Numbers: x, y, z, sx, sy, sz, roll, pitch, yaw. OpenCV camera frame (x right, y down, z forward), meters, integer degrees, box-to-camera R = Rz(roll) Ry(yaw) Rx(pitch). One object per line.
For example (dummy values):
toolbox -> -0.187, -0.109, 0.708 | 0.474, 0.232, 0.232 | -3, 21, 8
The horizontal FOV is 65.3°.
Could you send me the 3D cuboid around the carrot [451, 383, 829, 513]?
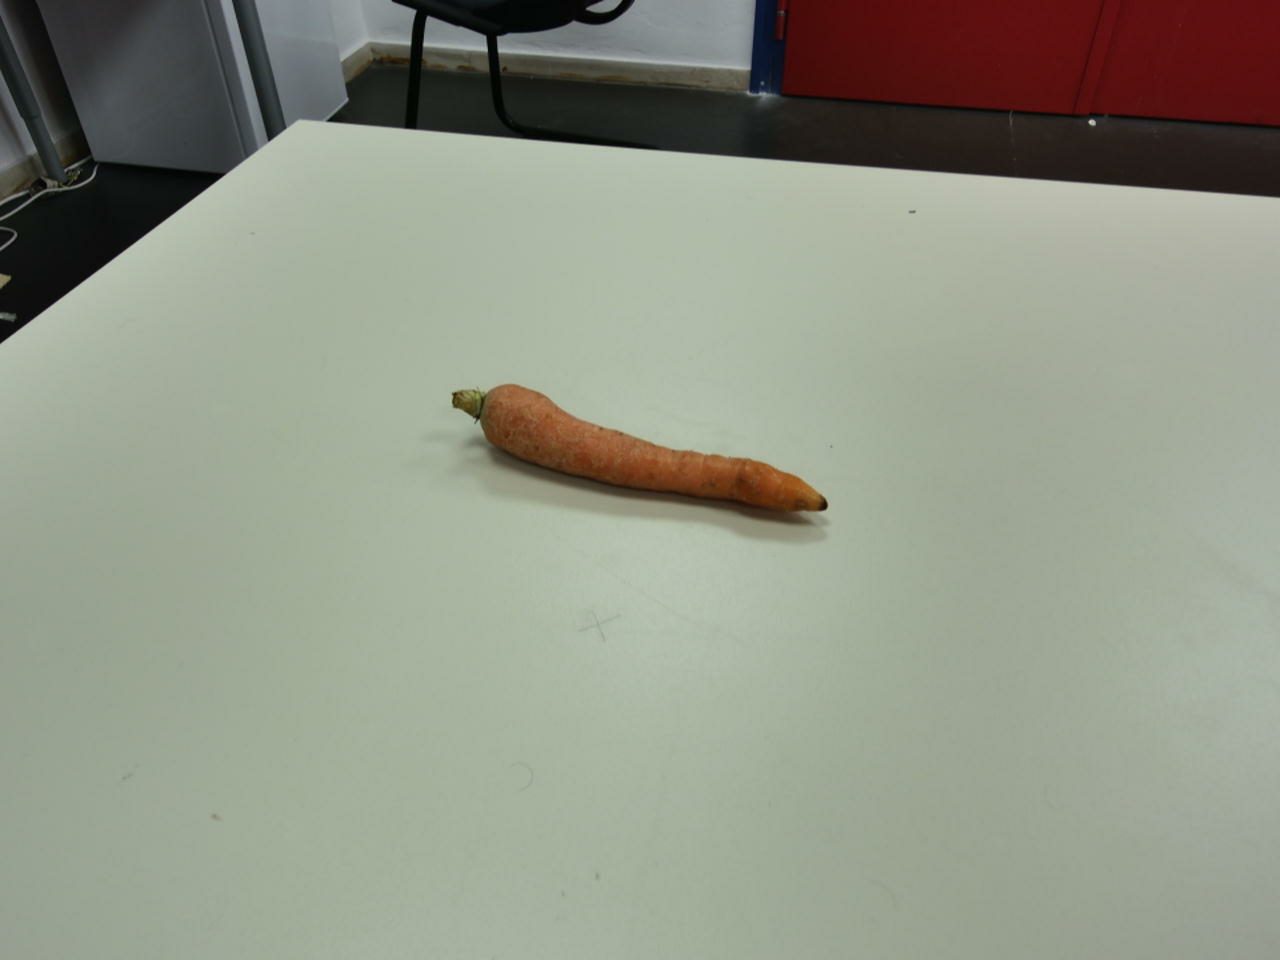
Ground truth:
carrot -> -0.003, -0.013, 0.430 | 0.173, 0.032, 0.030 | 14, 40, 18
